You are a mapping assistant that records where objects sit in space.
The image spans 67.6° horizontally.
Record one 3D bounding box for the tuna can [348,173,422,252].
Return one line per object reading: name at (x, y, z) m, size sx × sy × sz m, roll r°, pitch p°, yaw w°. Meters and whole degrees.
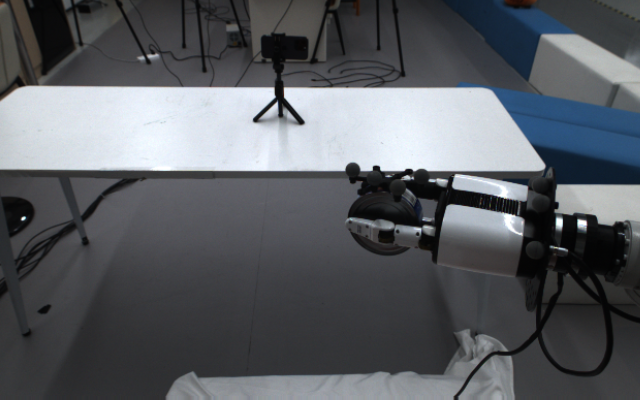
tuna can at (0.080, 0.019, 0.578) m, size 0.085 × 0.085 × 0.034 m, roll 13°, pitch 29°, yaw 16°
